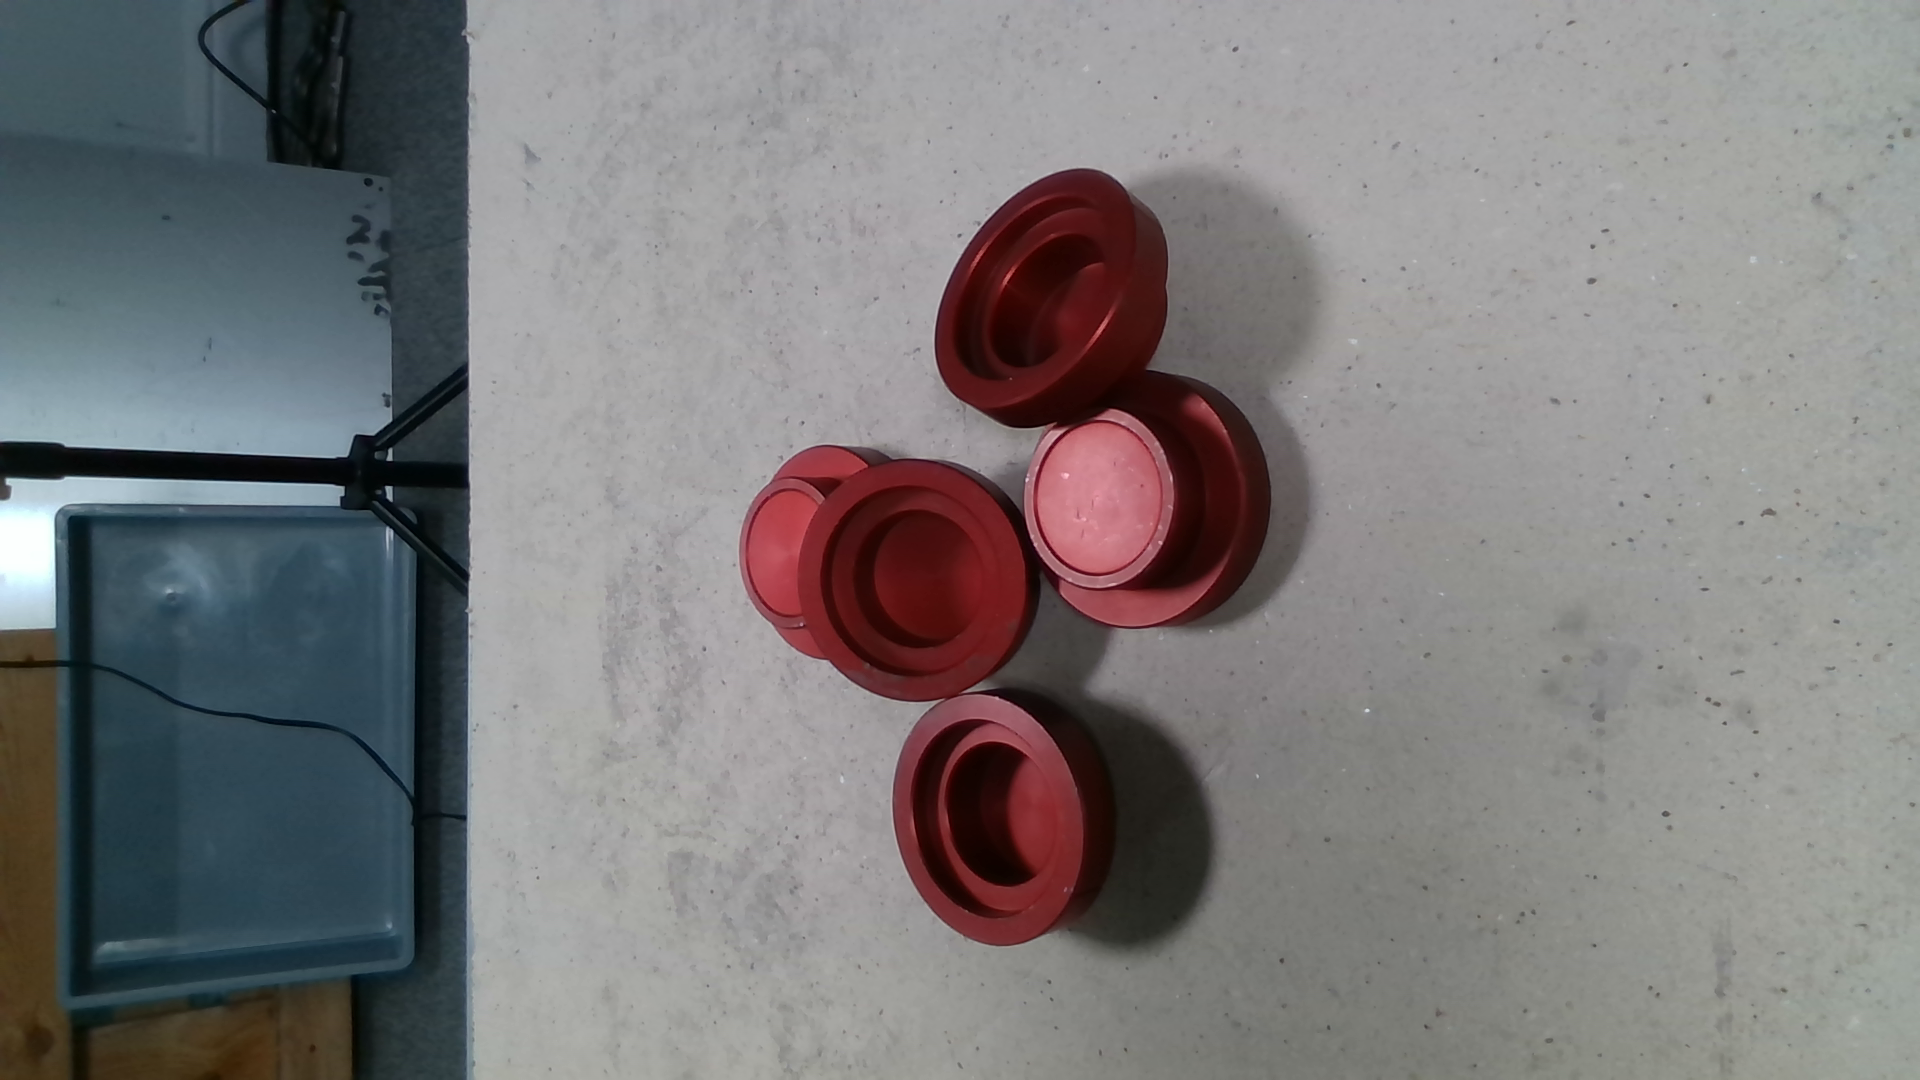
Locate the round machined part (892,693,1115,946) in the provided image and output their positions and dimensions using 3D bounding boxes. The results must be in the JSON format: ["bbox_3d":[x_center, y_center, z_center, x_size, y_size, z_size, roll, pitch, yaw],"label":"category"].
[{"bbox_3d":[0.022,0.109,0.554,0.098,0.042,0.098,0,91,40],"label":"round machined part"}]

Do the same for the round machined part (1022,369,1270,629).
[{"bbox_3d":[0.063,-0.015,0.517,0.098,0.042,0.098,0,91,40],"label":"round machined part"}]

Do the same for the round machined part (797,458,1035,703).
[{"bbox_3d":[-0.014,0.016,0.570,0.098,0.042,0.098,1,93,17],"label":"round machined part"}]

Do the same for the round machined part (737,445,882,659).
[{"bbox_3d":[-0.063,0.006,0.624,0.098,0.042,0.098,0,91,40],"label":"round machined part"}]

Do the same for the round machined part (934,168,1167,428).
[{"bbox_3d":[0.039,-0.087,0.523,0.098,0.042,0.098,-25,52,37],"label":"round machined part"}]
